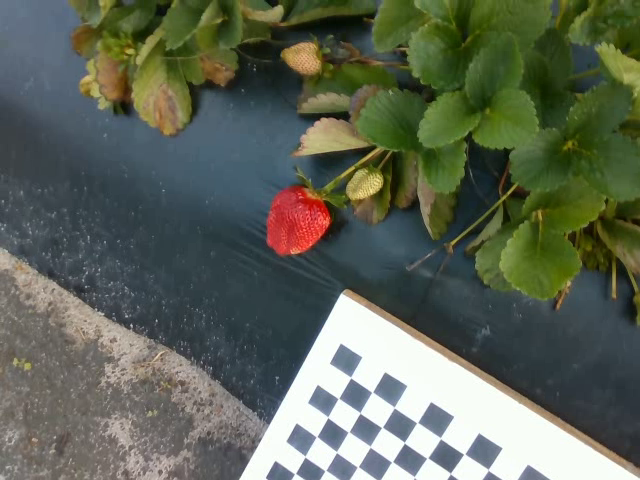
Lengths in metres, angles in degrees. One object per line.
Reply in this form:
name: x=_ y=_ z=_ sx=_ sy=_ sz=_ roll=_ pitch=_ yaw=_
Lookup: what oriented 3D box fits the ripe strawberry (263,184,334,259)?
ripe strawberry: x=-0.028 y=-0.017 z=0.596 sx=0.067 sy=0.075 sz=0.039 roll=36 pitch=17 yaw=14
